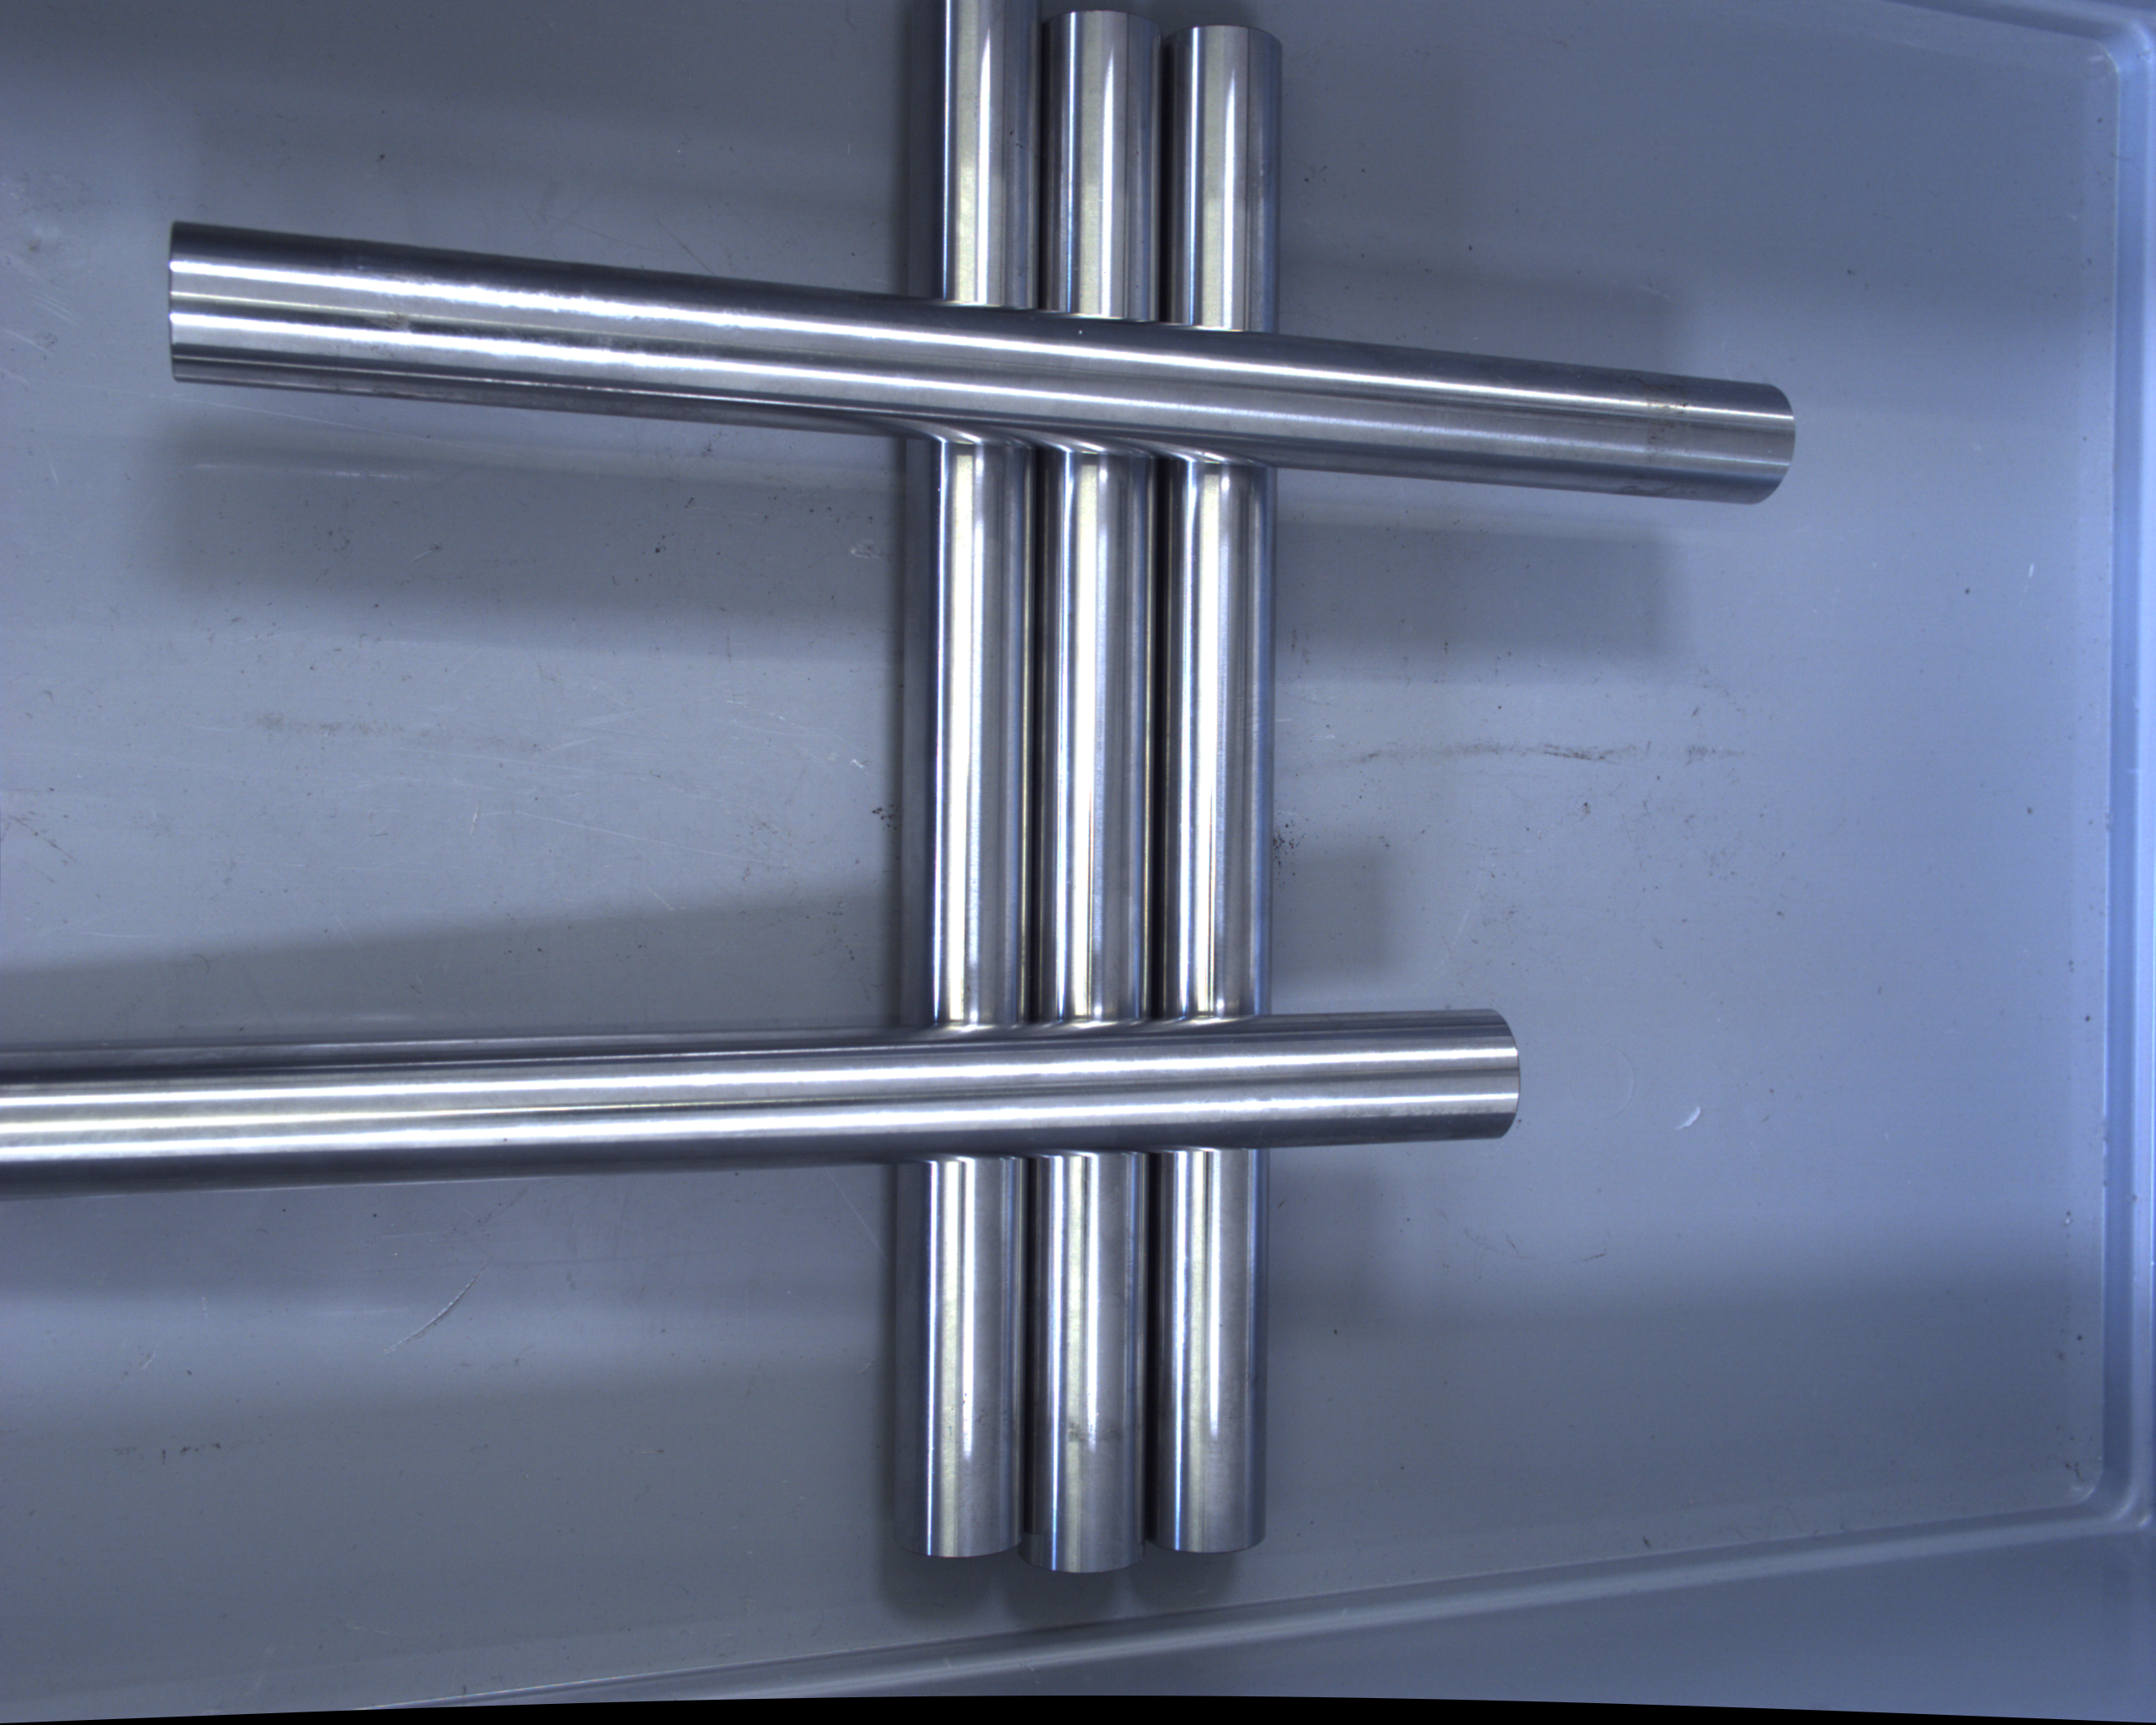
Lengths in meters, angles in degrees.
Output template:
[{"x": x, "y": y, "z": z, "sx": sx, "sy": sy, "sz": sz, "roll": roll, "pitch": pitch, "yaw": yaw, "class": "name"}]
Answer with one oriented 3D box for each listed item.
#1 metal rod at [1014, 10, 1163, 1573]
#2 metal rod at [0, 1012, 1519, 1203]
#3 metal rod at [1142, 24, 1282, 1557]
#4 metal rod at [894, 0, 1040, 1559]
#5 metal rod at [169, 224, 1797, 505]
[{"x": 0.002, "y": -0.014, "z": 0.410, "sx": 0.025, "sy": 0.025, "sz": 0.298, "roll": 1, "pitch": 90, "yaw": -20, "class": "metal rod"}, {"x": -0.068, "y": 0.042, "z": 0.365, "sx": 0.302, "sy": 0.025, "sz": 0.025, "roll": 0, "pitch": 90, "yaw": -13, "class": "metal rod"}, {"x": 0.026, "y": -0.014, "z": 0.418, "sx": 0.025, "sy": 0.025, "sz": 0.298, "roll": 1, "pitch": 90, "yaw": -20, "class": "metal rod"}, {"x": -0.021, "y": -0.019, "z": 0.402, "sx": 0.025, "sy": 0.025, "sz": 0.298, "roll": 1, "pitch": 90, "yaw": -20, "class": "metal rod"}, {"x": -0.001, "y": -0.088, "z": 0.382, "sx": 0.302, "sy": 0.025, "sz": 0.025, "roll": 0, "pitch": 90, "yaw": -20, "class": "metal rod"}]
